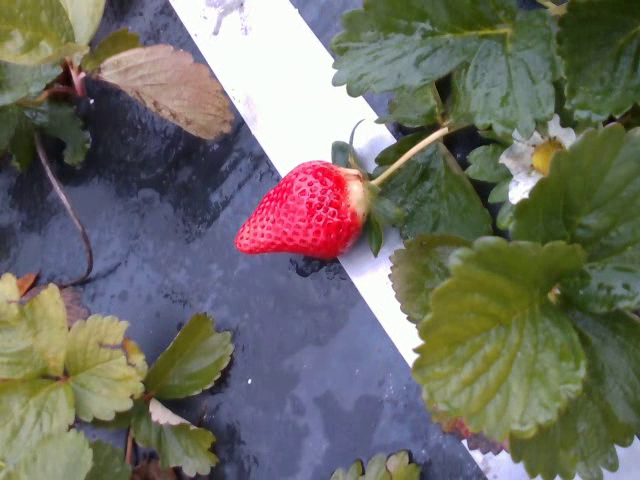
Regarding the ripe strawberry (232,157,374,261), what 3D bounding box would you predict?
[{"bbox_3d":[-0.009,-0.009,0.209,0.051,0.042,0.038,-24,12,6],"label":"ripe strawberry"}]
